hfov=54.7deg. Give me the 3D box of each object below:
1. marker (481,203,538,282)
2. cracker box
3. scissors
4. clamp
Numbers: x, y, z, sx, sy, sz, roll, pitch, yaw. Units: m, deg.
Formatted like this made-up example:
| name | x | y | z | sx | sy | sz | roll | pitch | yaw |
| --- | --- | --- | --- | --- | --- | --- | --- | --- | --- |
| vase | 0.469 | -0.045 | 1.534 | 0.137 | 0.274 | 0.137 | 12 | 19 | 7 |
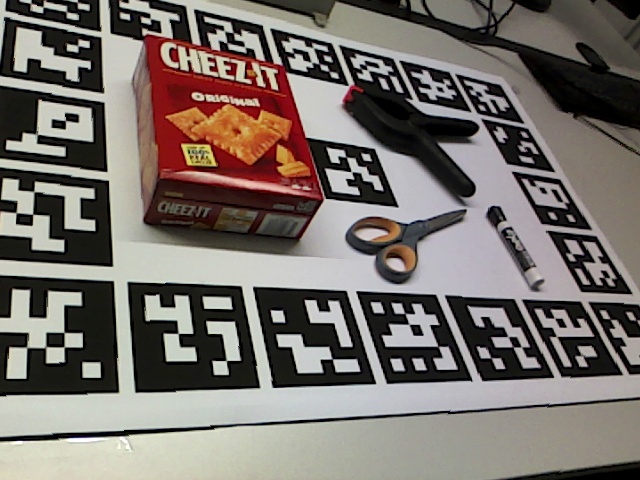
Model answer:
| name | x | y | z | sx | sy | sz | roll | pitch | yaw |
| --- | --- | --- | --- | --- | --- | --- | --- | --- | --- |
| marker | 0.238 | 0.000 | 0.785 | 0.019 | 0.019 | 0.121 | 1 | 50 | -30 |
| cracker box | -0.105 | -0.104 | 0.649 | 0.163 | 0.072 | 0.214 | 5 | 49 | -26 |
| scissors | 0.111 | -0.012 | 0.724 | 0.088 | 0.016 | 0.202 | 46 | 42 | 17 |
| clamp | 0.106 | -0.152 | 0.860 | 0.202 | 0.037 | 0.165 | 27 | 41 | -6 |
